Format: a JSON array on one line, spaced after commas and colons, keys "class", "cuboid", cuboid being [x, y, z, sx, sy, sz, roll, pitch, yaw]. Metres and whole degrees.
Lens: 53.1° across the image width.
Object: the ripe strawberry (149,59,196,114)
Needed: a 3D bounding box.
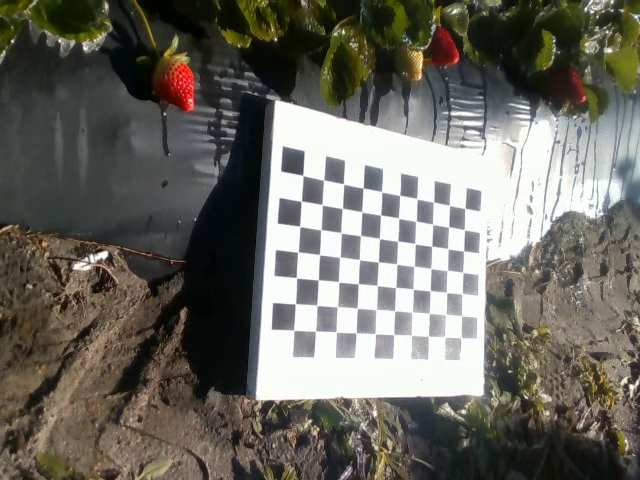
[{"class": "ripe strawberry", "cuboid": [-0.115, -0.125, 0.519, 0.039, 0.053, 0.040, -19, -10, -33]}]
